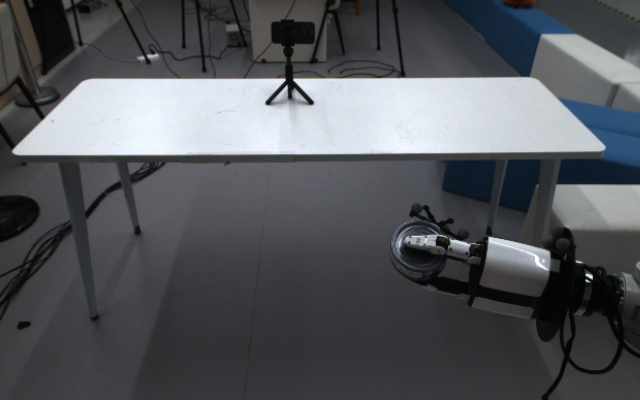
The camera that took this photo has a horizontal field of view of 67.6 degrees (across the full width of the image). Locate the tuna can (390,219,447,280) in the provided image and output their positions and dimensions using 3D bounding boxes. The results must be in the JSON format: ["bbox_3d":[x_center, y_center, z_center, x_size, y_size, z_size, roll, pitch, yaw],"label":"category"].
[{"bbox_3d":[0.149,0.070,0.713,0.085,0.034,0.085,-4,58,6],"label":"tuna can"}]
